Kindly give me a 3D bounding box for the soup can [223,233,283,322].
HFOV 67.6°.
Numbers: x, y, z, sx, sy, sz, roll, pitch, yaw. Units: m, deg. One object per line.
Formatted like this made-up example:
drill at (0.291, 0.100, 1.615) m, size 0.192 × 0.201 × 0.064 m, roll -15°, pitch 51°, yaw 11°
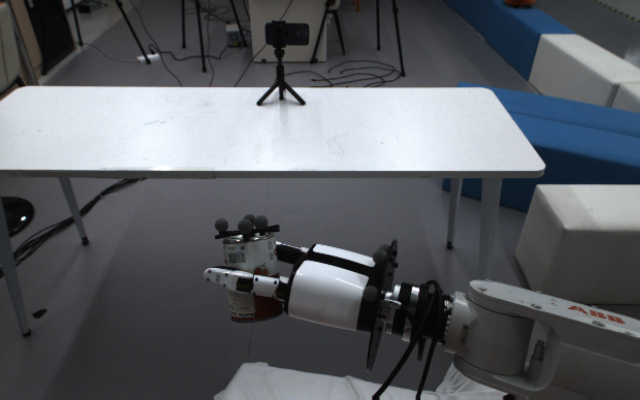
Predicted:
soup can at (-0.082, 0.096, 0.610) m, size 0.067 × 0.101 × 0.067 m, roll -7°, pitch 3°, yaw 0°
